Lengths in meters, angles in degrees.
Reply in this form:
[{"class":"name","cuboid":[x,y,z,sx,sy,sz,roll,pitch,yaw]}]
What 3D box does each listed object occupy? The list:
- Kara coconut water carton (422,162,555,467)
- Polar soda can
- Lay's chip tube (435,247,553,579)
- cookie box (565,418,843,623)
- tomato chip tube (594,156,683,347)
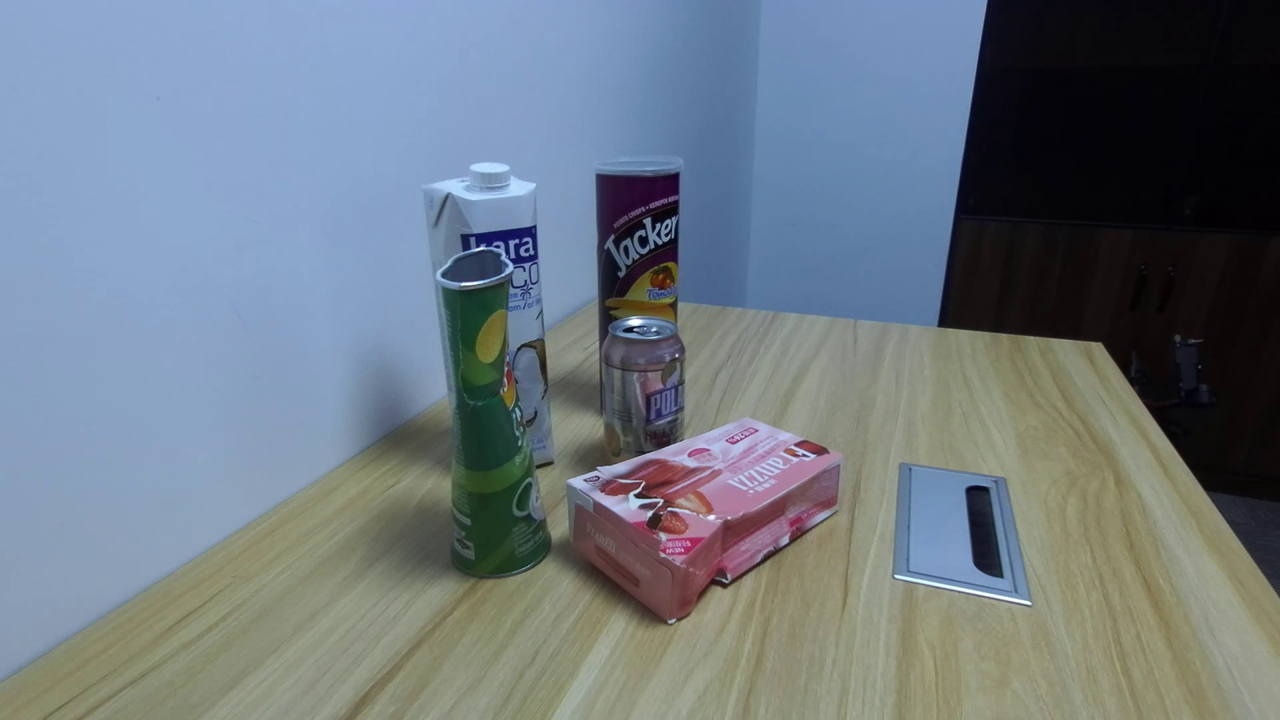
[{"class":"Kara coconut water carton","cuboid":[-0.118,-0.029,0.566,0.077,0.245,0.075,-13,22,-31]},{"class":"Polar soda can","cuboid":[0.004,0.031,0.577,0.067,0.125,0.067,0,19,0]},{"class":"Lay's chip tube","cuboid":[-0.098,0.037,0.458,0.069,0.199,0.074,-20,28,-40]},{"class":"cookie box","cuboid":[0.052,0.095,0.497,0.187,0.059,0.104,-18,30,-41]},{"class":"tomato chip tube","cuboid":[-0.001,-0.059,0.658,0.078,0.234,0.078,0,16,0]}]
